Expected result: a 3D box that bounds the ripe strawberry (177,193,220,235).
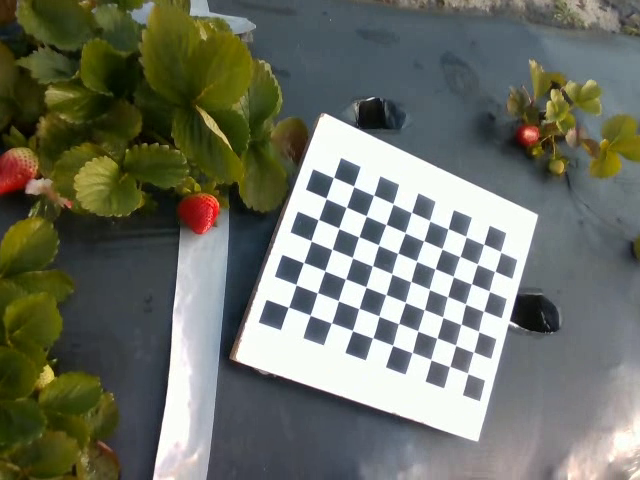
[{"bbox_3d":[-0.107,-0.022,0.535,0.050,0.055,0.035,18,-30,-23],"label":"ripe strawberry"}]
